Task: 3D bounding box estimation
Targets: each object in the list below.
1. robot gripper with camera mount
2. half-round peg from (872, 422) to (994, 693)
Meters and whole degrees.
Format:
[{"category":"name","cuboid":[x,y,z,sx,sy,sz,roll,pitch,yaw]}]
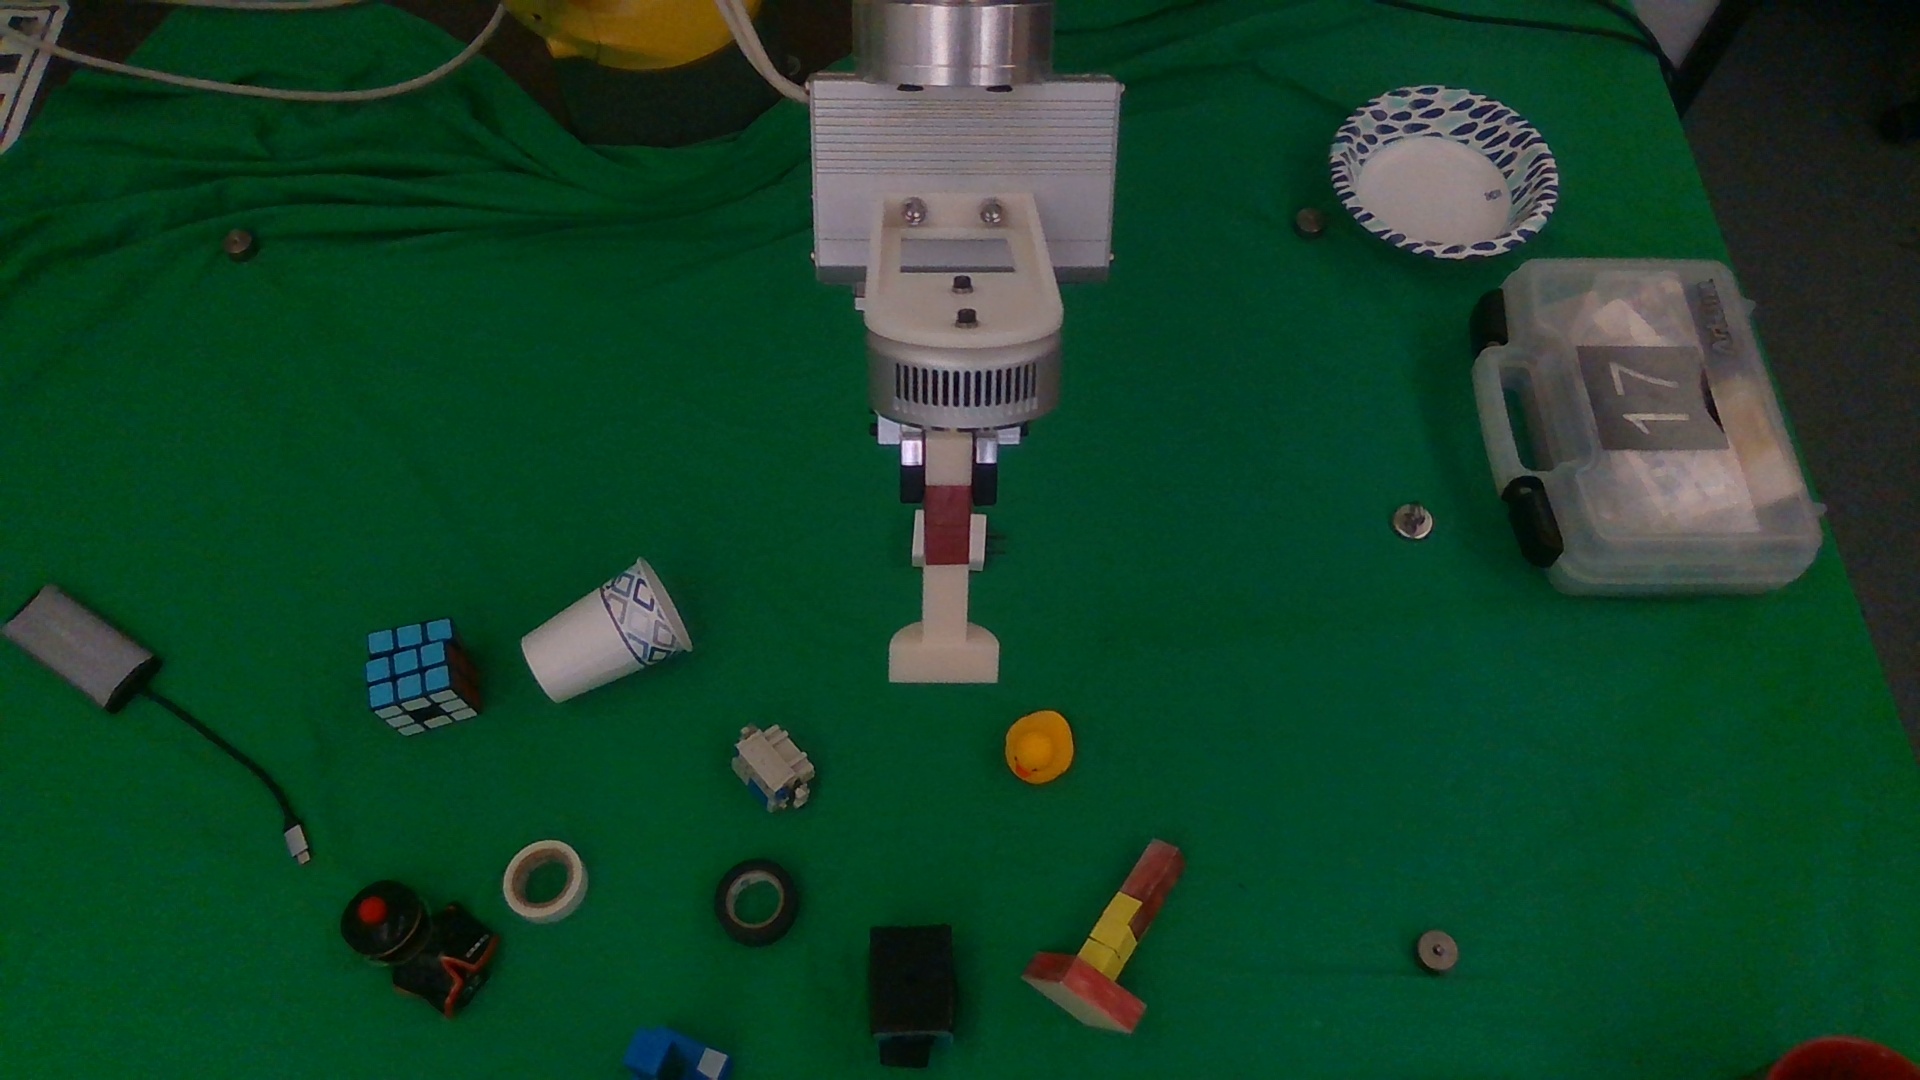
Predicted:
[{"category":"robot gripper with camera mount","cuboid":[-0.002,-0.067,0.493,0.119,0.158,0.193,1,24,-2]},{"category":"half-round peg","cuboid":[-0.013,0.007,0.597,0.054,0.122,0.031,-5,30,-11]}]
